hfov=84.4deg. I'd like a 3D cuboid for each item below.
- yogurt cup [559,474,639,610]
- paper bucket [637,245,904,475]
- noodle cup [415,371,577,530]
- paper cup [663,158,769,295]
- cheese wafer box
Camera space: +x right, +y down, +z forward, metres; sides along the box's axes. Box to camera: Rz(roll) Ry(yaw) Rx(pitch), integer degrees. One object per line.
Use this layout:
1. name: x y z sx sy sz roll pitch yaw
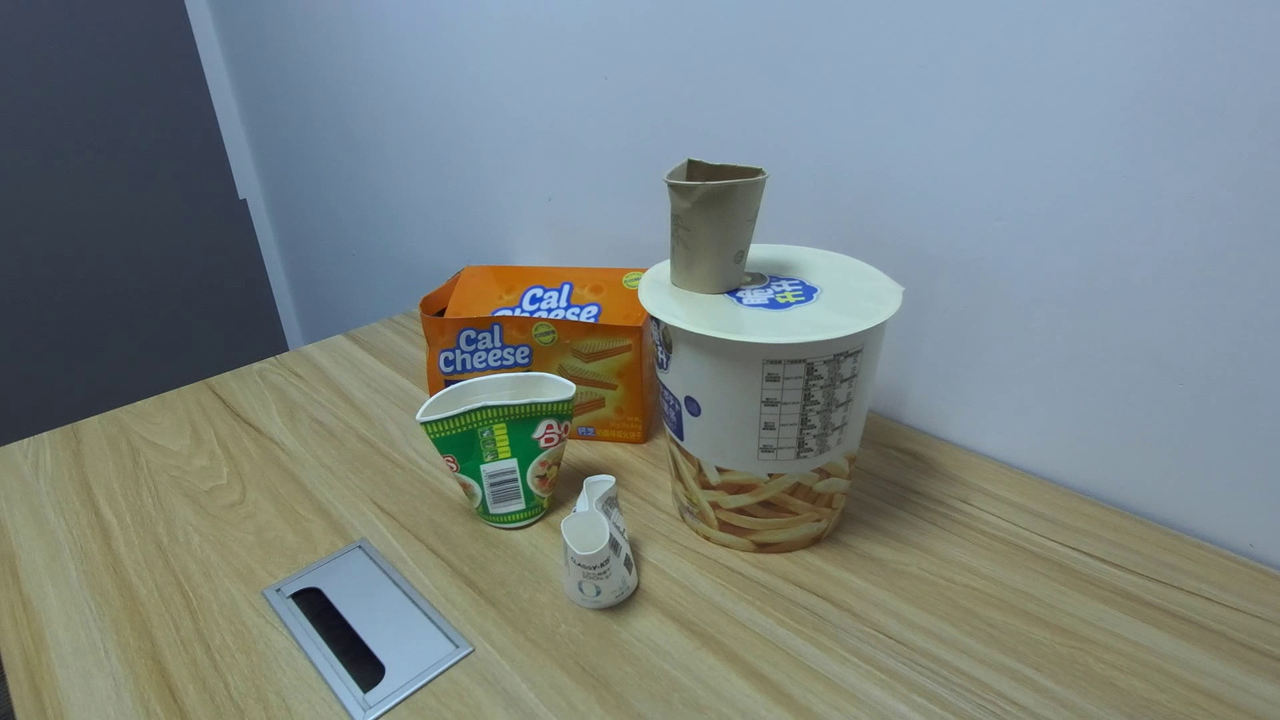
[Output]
1. yogurt cup: -0.030 0.133 0.505 0.054 0.071 0.075 -13 30 -17
2. paper bucket: 0.096 0.029 0.561 0.198 0.195 0.198 -2 29 1
3. noodle cup: -0.108 0.074 0.582 0.115 0.111 0.070 2 31 8
4. paper cup: 0.052 -0.095 0.507 0.071 0.084 0.066 9 30 13
5. cheese wafer box: -0.095 -0.010 0.727 0.230 0.132 0.152 3 30 10
